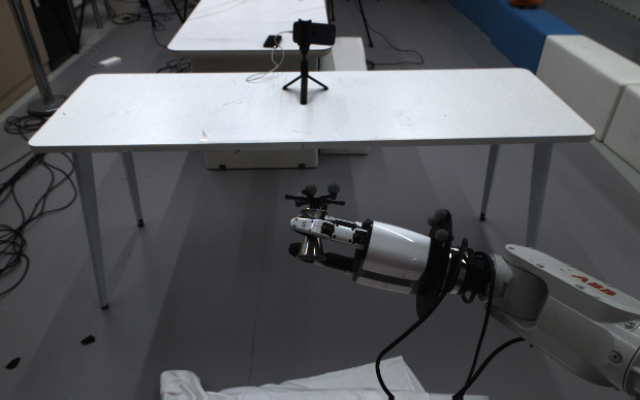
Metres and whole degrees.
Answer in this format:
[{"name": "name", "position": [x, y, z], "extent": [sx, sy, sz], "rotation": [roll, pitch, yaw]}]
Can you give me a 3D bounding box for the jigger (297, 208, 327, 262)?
[{"name": "jigger", "position": [-0.012, 0.049, 0.695], "extent": [0.043, 0.043, 0.071], "rotation": [3, 75, 2]}]
